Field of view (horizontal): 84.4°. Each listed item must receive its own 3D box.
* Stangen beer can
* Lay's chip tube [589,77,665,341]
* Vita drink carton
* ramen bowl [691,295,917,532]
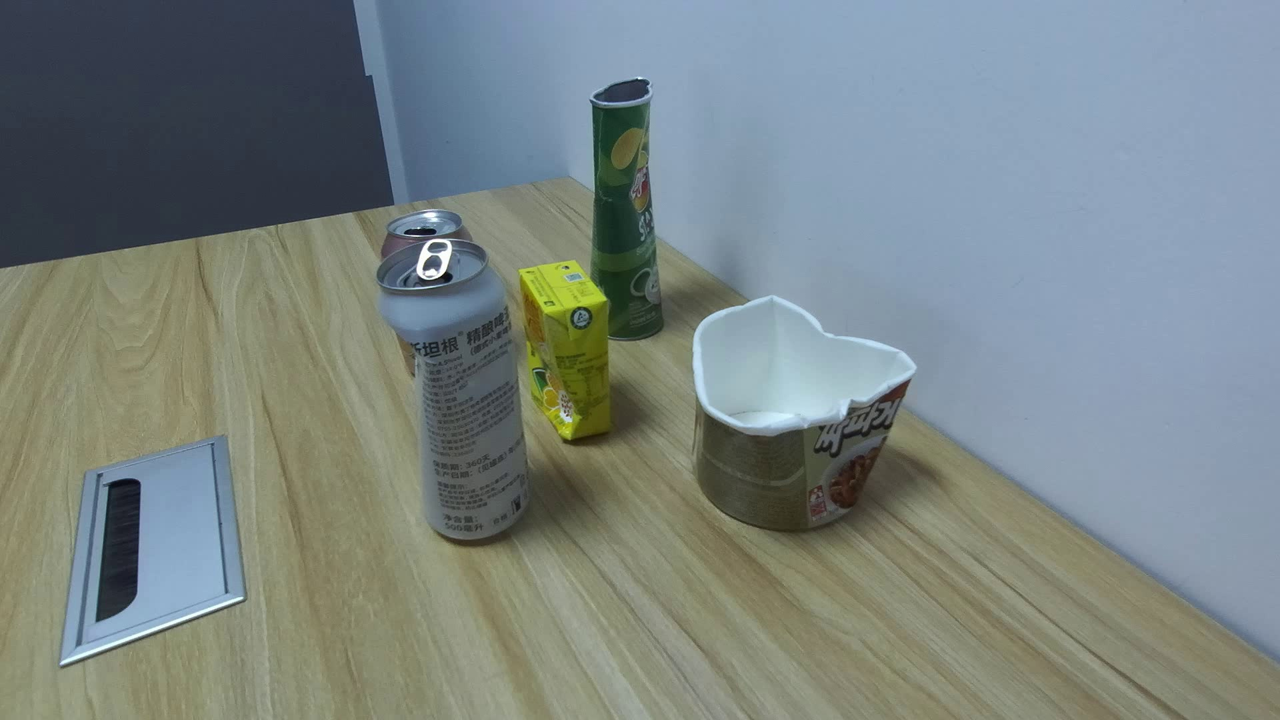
[{"bbox_3d":[-0.102,0.022,0.393,0.069,0.173,0.070,11,33,19],"label":"Stangen beer can"},{"bbox_3d":[-0.012,-0.117,0.580,0.069,0.200,0.074,-13,35,-19],"label":"Lay's chip tube"},{"bbox_3d":[-0.049,-0.003,0.486,0.043,0.109,0.076,-13,36,-18],"label":"Vita drink carton"},{"bbox_3d":[0.084,0.037,0.434,0.113,0.097,0.134,30,41,35],"label":"ramen bowl"}]
